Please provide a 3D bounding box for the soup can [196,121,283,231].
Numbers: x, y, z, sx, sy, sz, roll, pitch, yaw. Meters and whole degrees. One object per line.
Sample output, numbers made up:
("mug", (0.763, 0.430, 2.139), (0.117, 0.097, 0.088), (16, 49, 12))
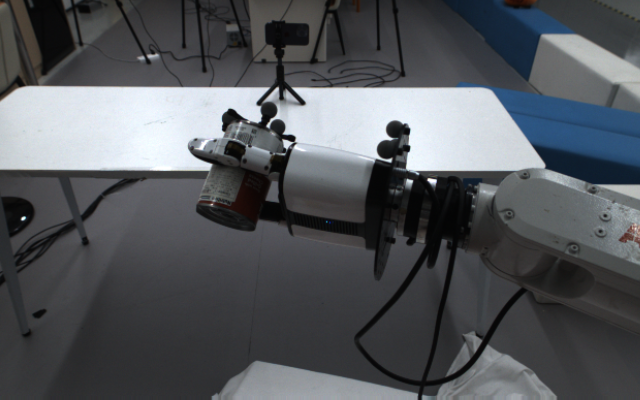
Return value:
("soup can", (-0.085, -0.027, 0.522), (0.067, 0.067, 0.101), (12, 70, 14))
